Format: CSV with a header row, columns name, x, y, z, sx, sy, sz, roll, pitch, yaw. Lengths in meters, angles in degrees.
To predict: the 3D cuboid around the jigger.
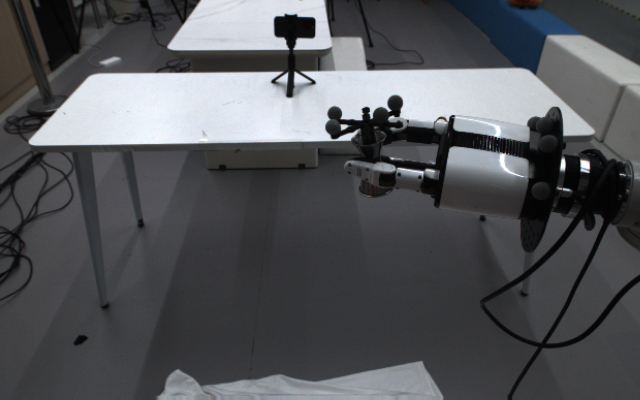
name,x,y,z,sx,sy,sz,roll,pitch,yaw
jigger,0.062,-0.044,0.571,0.043,0.071,0.043,-10,32,6
